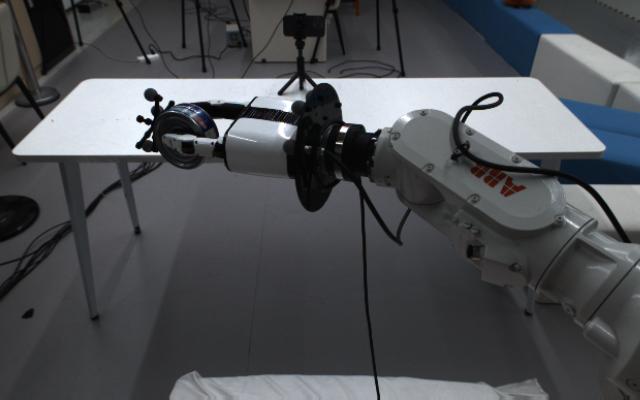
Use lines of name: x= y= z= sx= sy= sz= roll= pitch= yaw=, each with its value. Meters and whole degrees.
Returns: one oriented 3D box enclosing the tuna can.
tuna can: x=-0.182 y=-0.087 z=0.658 sx=0.085 sy=0.085 sz=0.034 roll=12 pitch=31 yaw=15
